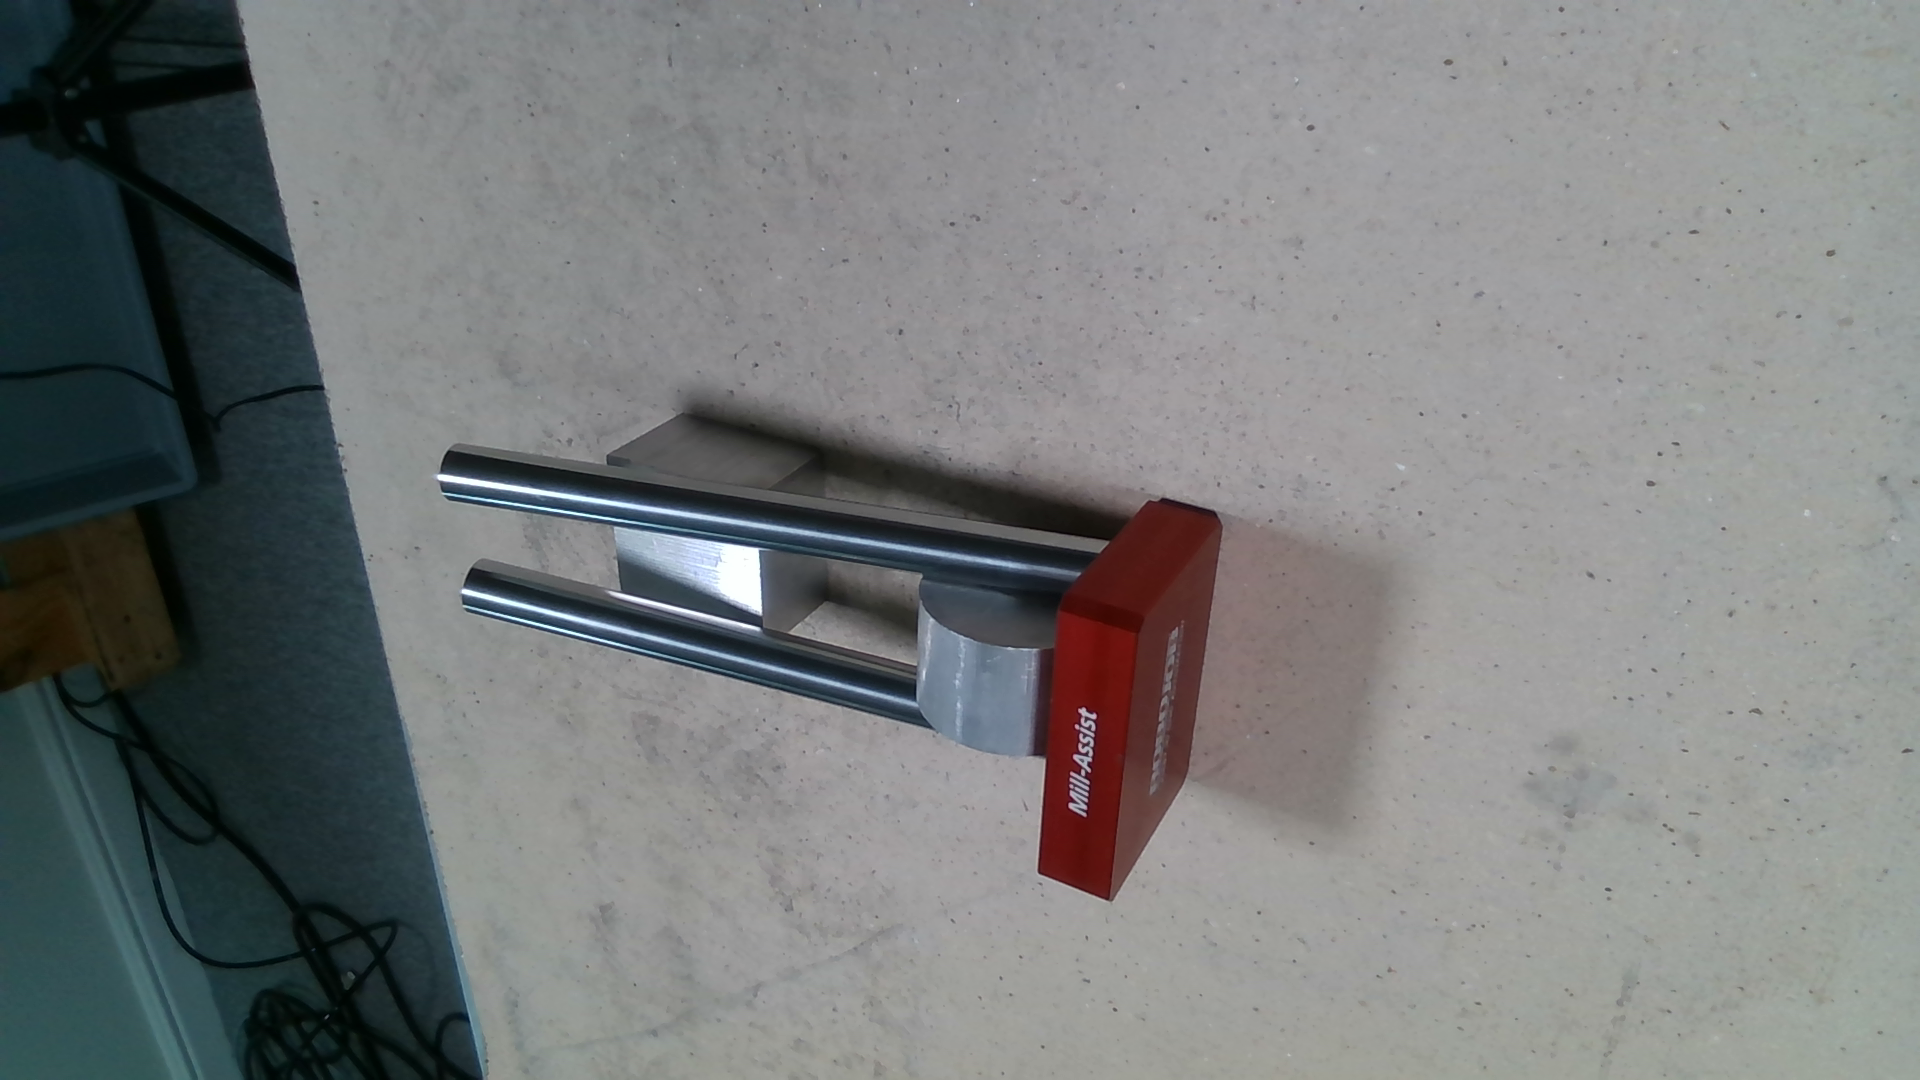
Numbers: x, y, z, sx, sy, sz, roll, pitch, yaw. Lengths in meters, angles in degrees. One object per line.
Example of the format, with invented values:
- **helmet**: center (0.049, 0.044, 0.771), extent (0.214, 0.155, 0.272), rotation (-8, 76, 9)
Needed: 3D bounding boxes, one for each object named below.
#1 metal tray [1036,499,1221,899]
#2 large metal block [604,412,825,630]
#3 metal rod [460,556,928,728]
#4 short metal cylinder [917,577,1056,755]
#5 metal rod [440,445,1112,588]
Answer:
- **metal tray**: center (0.065, 0.061, 0.531), extent (0.030, 0.090, 0.130), rotation (16, 123, 24)
- **large metal block**: center (-0.110, -0.005, 0.626), extent (0.080, 0.050, 0.080), rotation (16, 122, 24)
- **metal rod**: center (-0.071, 0.054, 0.593), extent (0.300, 0.025, 0.025), rotation (13, 123, 8)
- **short metal cylinder**: center (0.023, 0.042, 0.554), extent (0.080, 0.080, 0.050), rotation (16, 123, 24)
- **metal rod**: center (-0.069, -0.008, 0.558), extent (0.300, 0.025, 0.025), rotation (8, 120, 11)
